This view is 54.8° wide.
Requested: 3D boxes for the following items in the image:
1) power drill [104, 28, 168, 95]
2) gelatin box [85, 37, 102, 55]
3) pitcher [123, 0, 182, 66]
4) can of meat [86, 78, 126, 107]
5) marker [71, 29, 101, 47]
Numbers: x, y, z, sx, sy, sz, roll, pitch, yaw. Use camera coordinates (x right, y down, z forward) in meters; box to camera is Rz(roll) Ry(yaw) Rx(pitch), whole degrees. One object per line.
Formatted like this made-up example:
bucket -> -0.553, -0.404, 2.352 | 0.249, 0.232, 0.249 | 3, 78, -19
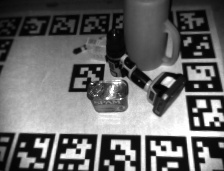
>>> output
power drill -> 0.052, -0.063, 0.562 | 0.185, 0.185, 0.057 | 33, 74, 15
gelatin box -> -0.032, -0.123, 0.665 | 0.089, 0.074, 0.030 | 9, 68, 10
pitcher -> 0.102, -0.166, 0.585 | 0.186, 0.245, 0.133 | 27, 72, 27
can of meat -> -0.012, 0.017, 0.580 | 0.101, 0.084, 0.057 | -2, 60, 5
marker -> -0.081, -0.158, 0.717 | 0.121, 0.020, 0.019 | -25, 63, -6
